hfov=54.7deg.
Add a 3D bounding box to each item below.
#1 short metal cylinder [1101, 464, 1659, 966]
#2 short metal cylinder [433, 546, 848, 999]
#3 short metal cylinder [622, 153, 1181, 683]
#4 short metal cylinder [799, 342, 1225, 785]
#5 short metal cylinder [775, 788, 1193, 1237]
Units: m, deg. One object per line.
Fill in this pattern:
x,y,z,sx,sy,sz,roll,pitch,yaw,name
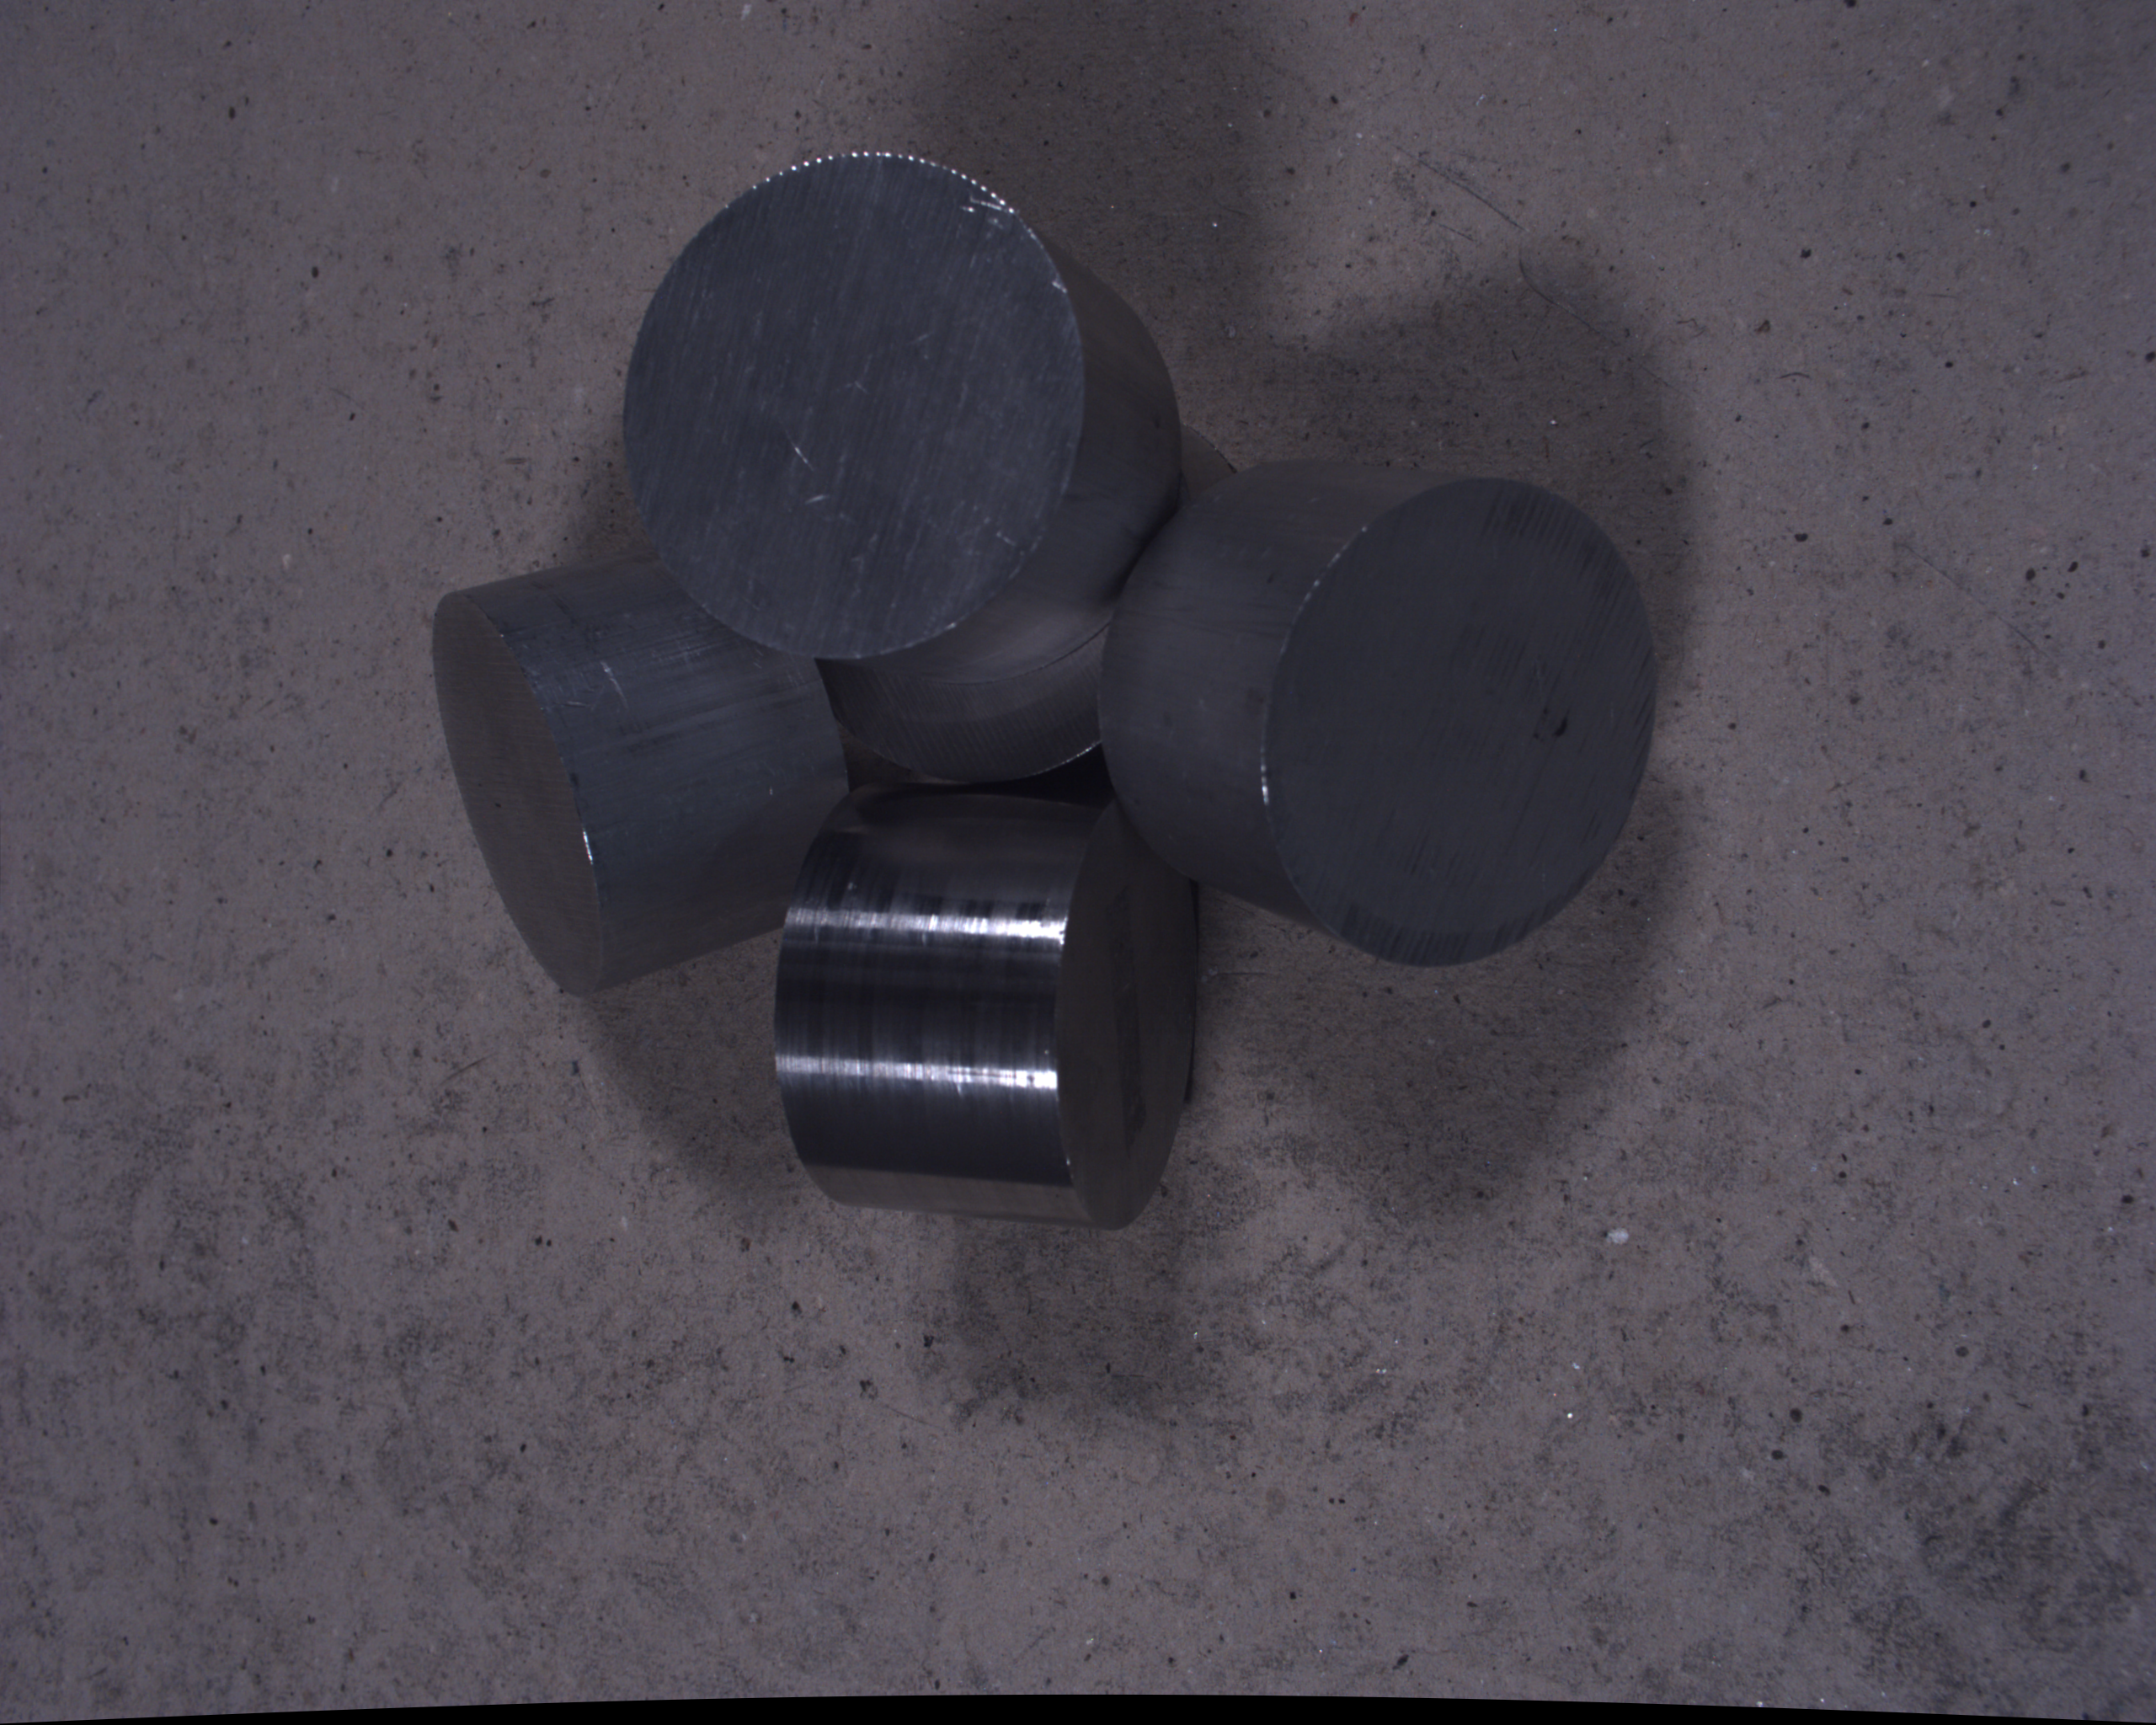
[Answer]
0.051,-0.027,0.356,0.050,0.081,0.079,22,99,57,short metal cylinder
-0.086,-0.019,0.405,0.080,0.050,0.079,39,139,45,short metal cylinder
-0.028,-0.072,0.352,0.080,0.050,0.079,0,90,19,short metal cylinder
-0.009,-0.054,0.399,0.080,0.050,0.079,0,90,19,short metal cylinder
-0.014,0.026,0.384,0.050,0.080,0.079,2,91,20,short metal cylinder
